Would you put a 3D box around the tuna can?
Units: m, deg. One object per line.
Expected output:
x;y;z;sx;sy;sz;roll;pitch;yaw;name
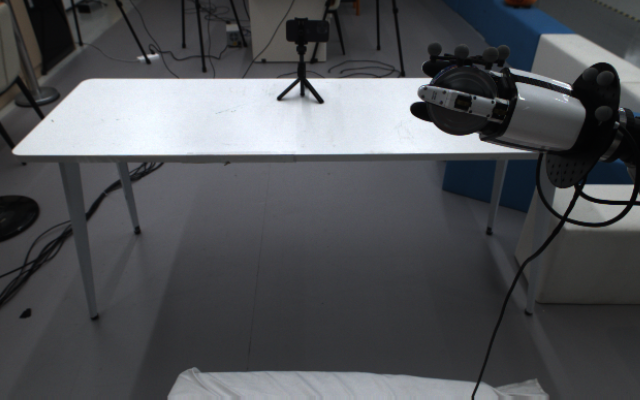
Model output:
0.178;-0.128;0.611;0.085;0.085;0.034;7;22;7;tuna can
